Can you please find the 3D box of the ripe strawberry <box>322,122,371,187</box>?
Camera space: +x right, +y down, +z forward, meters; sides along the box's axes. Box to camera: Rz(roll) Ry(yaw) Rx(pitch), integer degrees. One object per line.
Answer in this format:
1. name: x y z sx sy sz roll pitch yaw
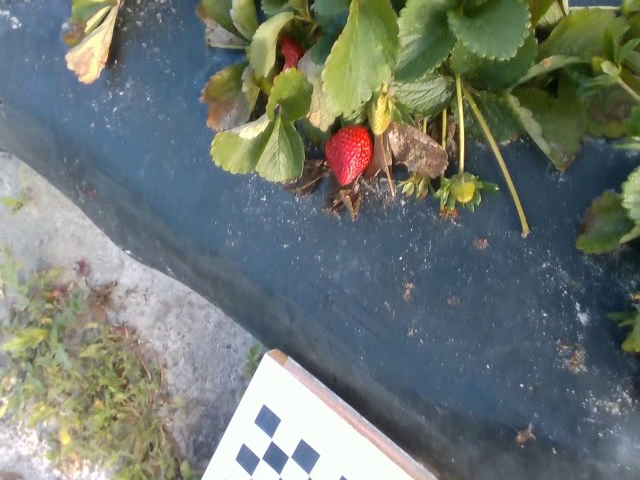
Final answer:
1. ripe strawberry: 0.012 -0.041 0.327 0.031 0.030 0.025 -5 -19 29
